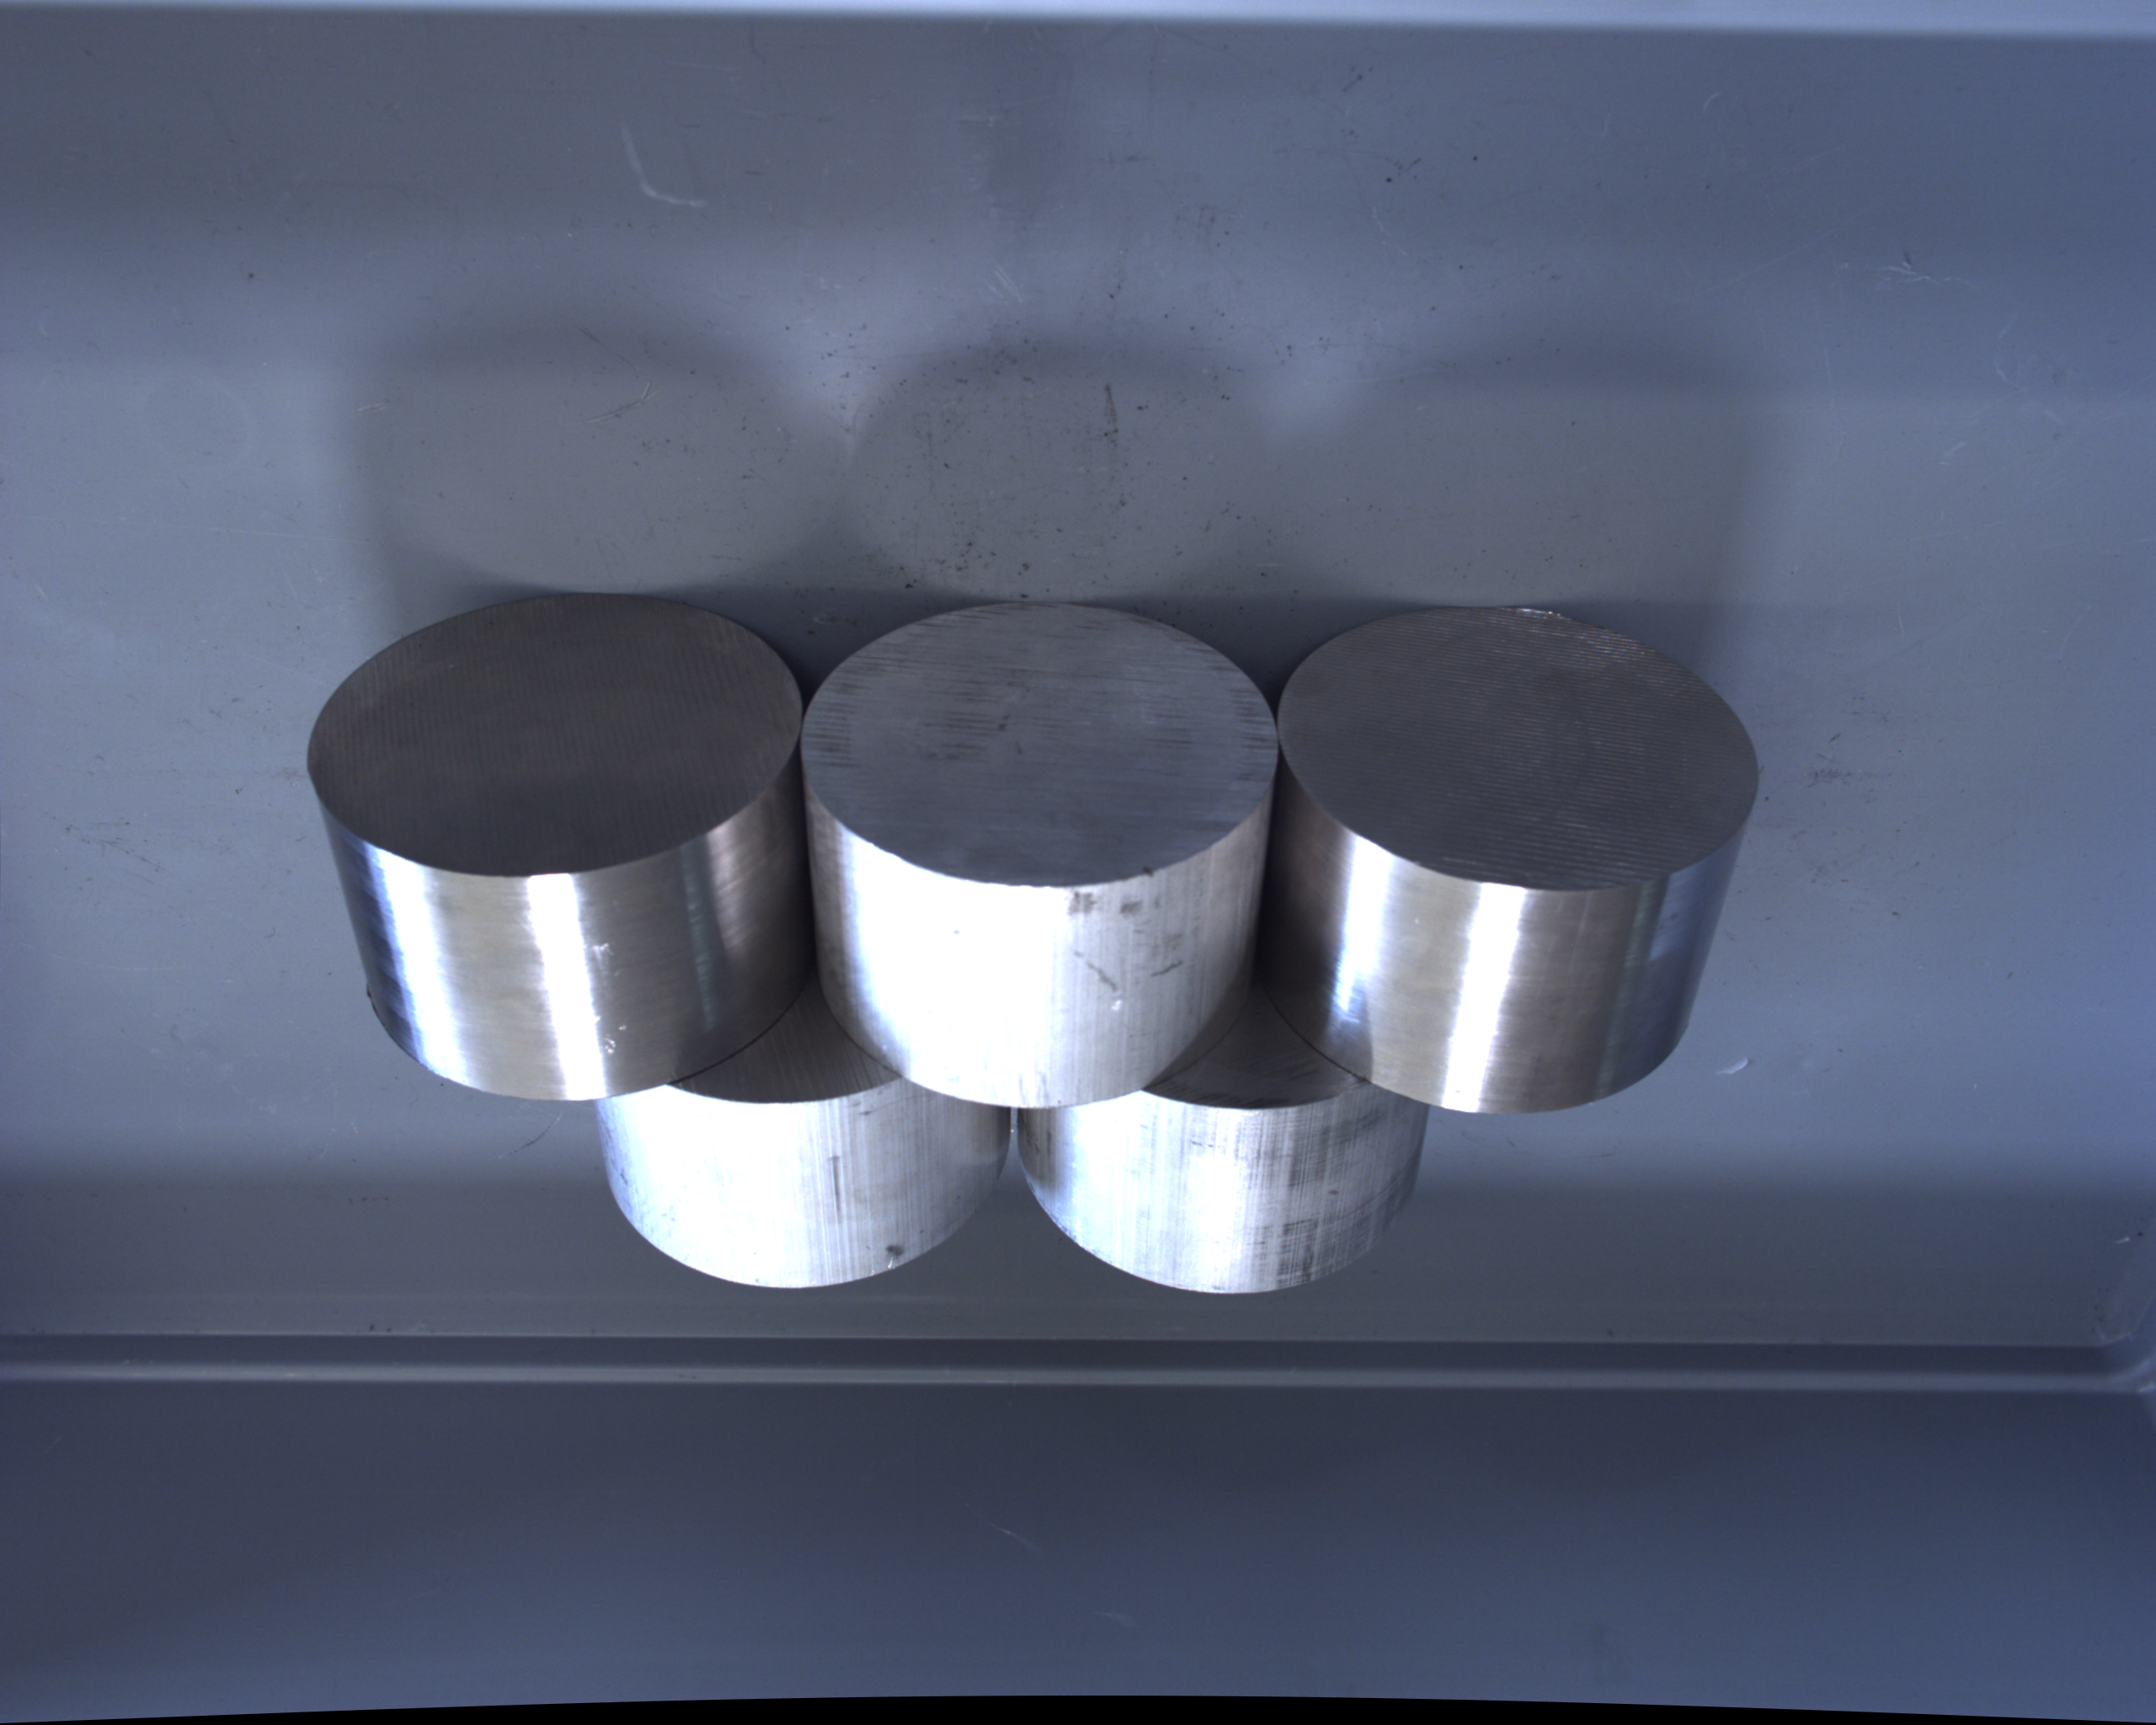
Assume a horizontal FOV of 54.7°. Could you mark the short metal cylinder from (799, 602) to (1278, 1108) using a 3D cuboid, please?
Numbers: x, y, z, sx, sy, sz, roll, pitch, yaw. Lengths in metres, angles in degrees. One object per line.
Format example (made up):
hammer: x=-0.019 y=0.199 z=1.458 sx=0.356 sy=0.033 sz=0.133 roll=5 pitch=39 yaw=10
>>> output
short metal cylinder: x=-0.007 y=-0.003 z=0.368 sx=0.081 sy=0.080 sz=0.050 roll=1 pitch=130 yaw=-1

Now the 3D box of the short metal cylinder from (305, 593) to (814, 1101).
short metal cylinder: x=-0.088 y=-0.004 z=0.366 sx=0.081 sy=0.080 sz=0.050 roll=1 pitch=130 yaw=-1

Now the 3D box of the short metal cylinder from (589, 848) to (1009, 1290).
short metal cylinder: x=-0.053 y=0.034 z=0.399 sx=0.081 sy=0.080 sz=0.050 roll=1 pitch=130 yaw=-1

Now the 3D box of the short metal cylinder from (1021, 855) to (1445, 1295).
short metal cylinder: x=0.029 y=0.036 z=0.401 sx=0.081 sy=0.080 sz=0.050 roll=1 pitch=130 yaw=-1

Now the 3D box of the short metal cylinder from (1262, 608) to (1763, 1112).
short metal cylinder: x=0.074 y=-0.002 z=0.369 sx=0.081 sy=0.080 sz=0.050 roll=1 pitch=130 yaw=-1
